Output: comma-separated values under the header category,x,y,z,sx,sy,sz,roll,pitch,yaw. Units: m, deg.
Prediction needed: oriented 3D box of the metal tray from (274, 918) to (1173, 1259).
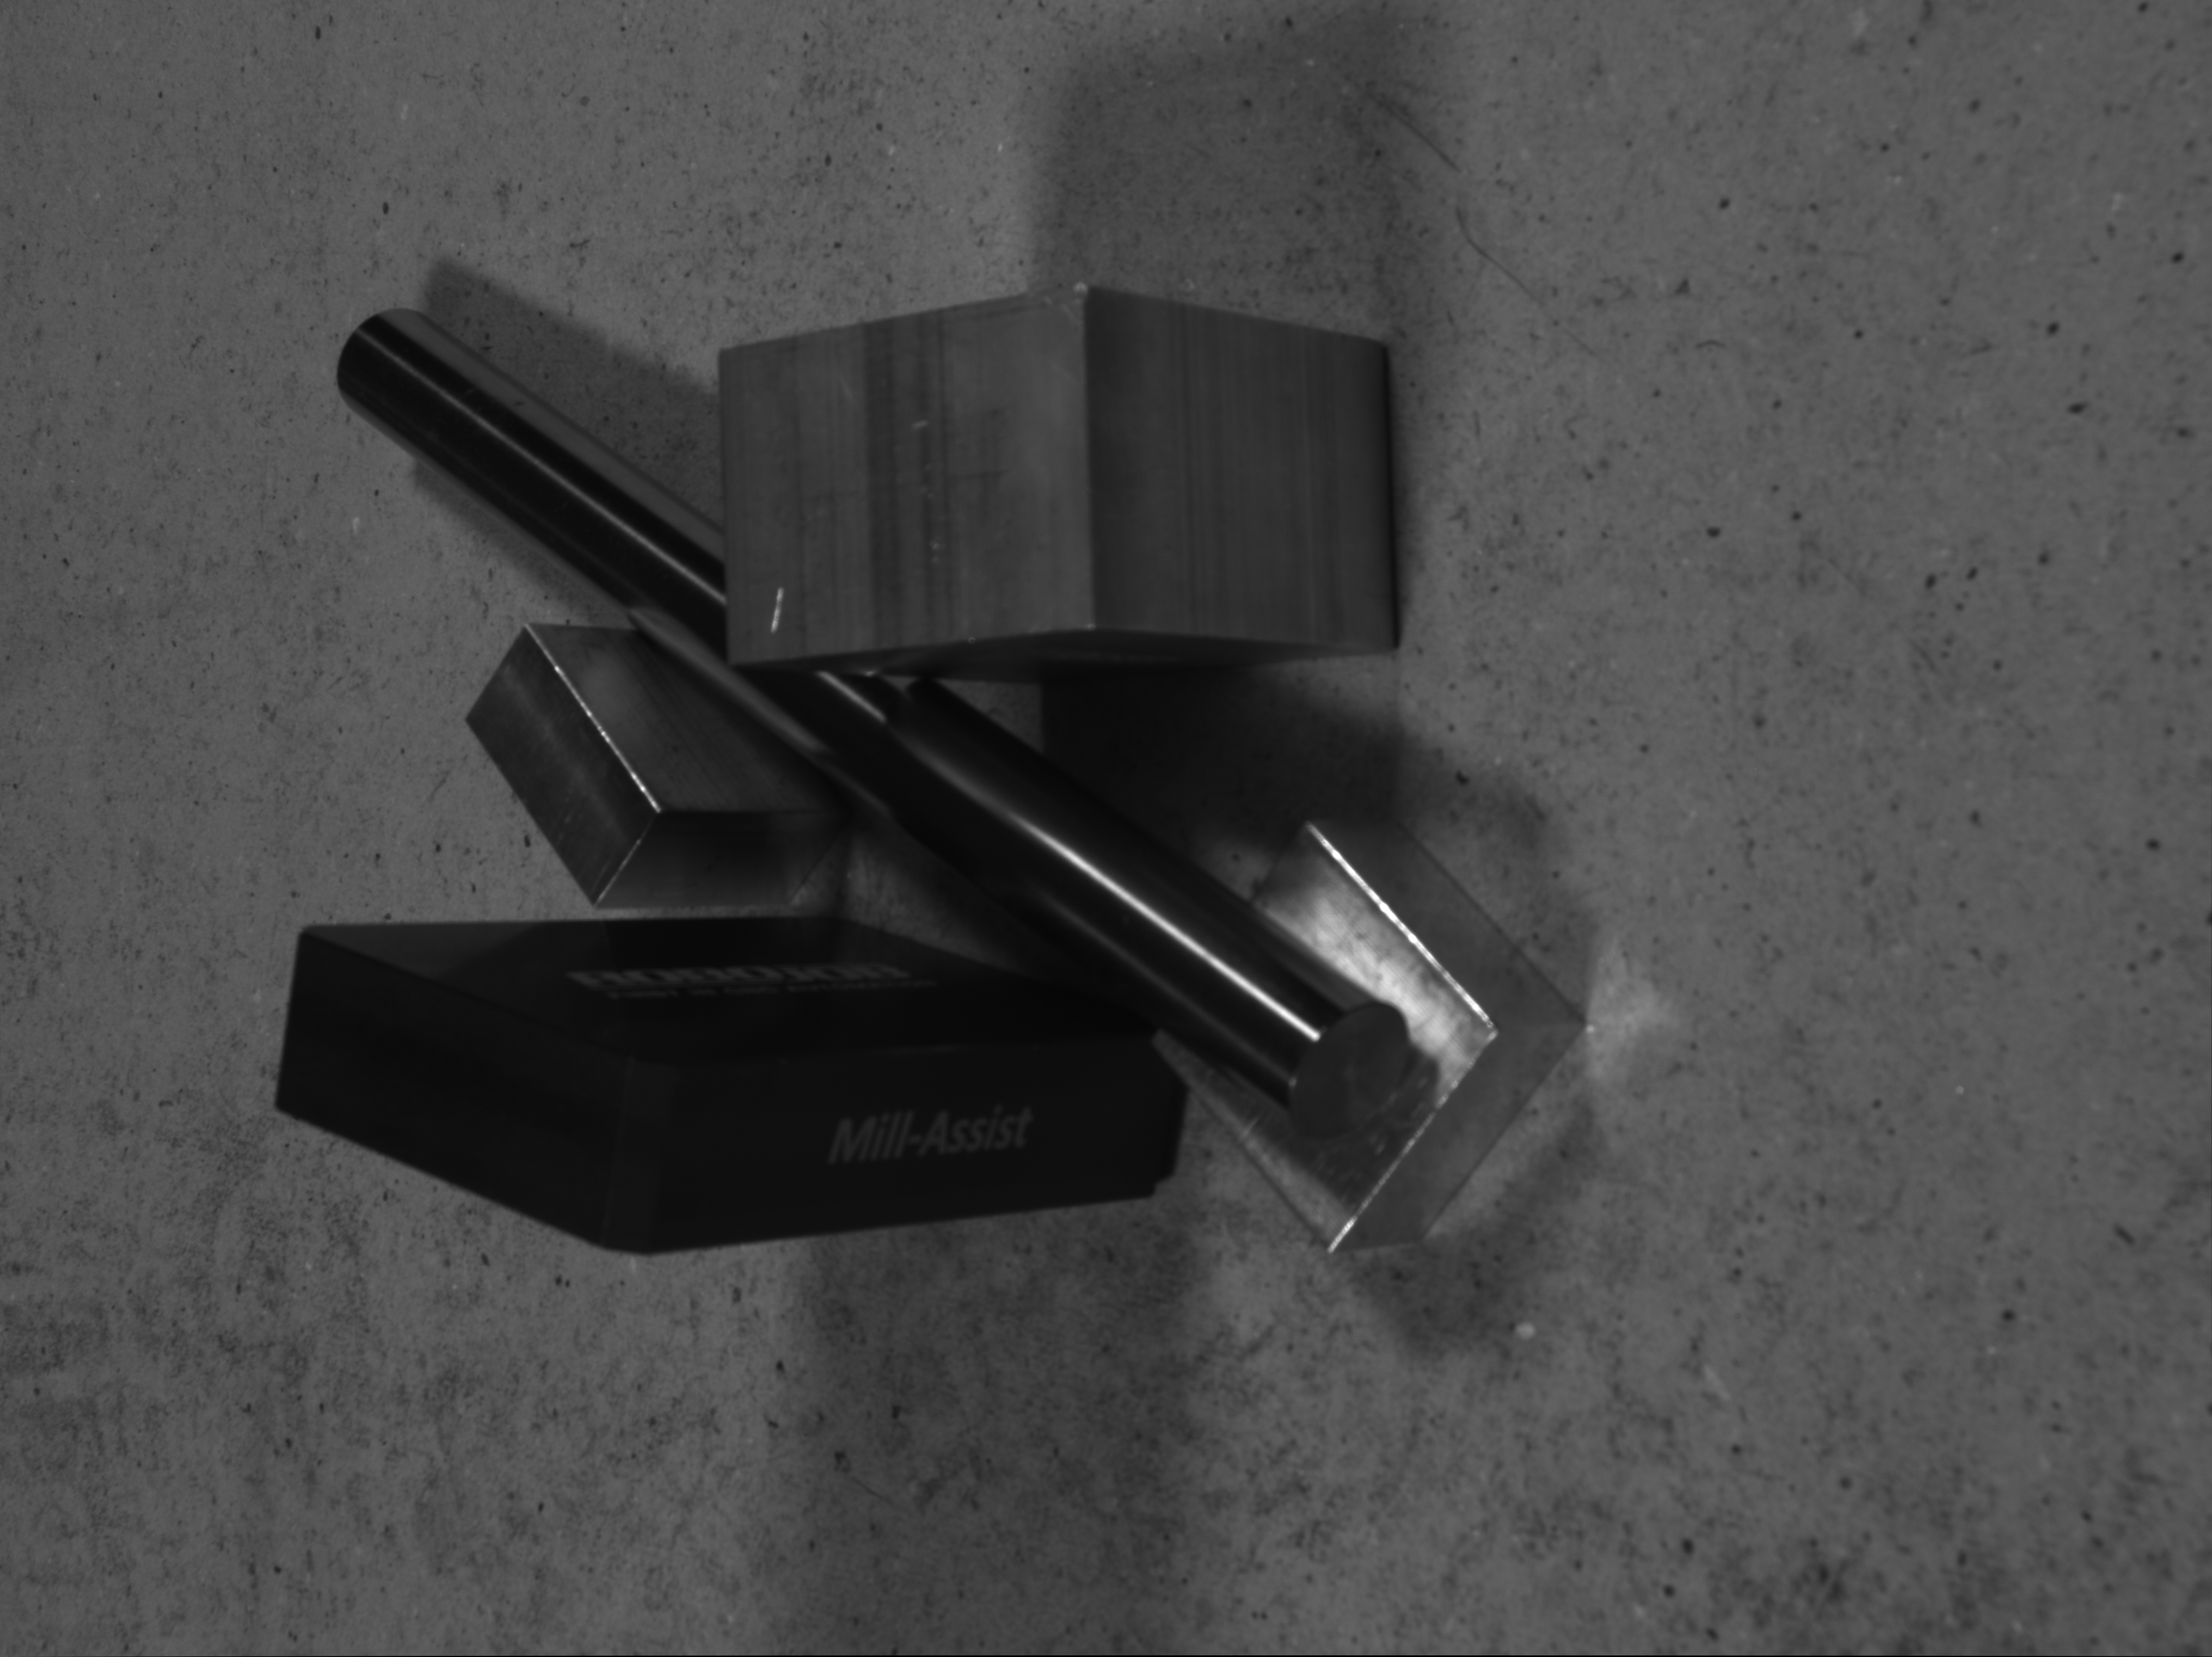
category,x,y,z,sx,sy,sz,roll,pitch,yaw
metal tray,-0.061,0.041,0.619,0.090,0.130,0.030,16,100,39

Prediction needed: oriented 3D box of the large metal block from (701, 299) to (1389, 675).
category,x,y,z,sx,sy,sz,roll,pitch,yaw
large metal block,-0.010,-0.053,0.607,0.080,0.080,0.050,-3,88,39

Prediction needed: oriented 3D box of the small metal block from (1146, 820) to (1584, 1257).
category,x,y,z,sx,sy,sz,roll,pitch,yaw
small metal block,0.042,0.034,0.603,0.050,0.025,0.050,49,118,29

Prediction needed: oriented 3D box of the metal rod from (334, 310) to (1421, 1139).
category,x,y,z,sx,sy,sz,roll,pitch,yaw
metal rod,-0.054,-0.029,0.664,0.299,0.025,0.025,35,111,40

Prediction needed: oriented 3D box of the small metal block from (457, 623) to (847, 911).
category,x,y,z,sx,sy,sz,roll,pitch,yaw
small metal block,-0.085,-0.011,0.689,0.050,0.050,0.025,52,120,27
